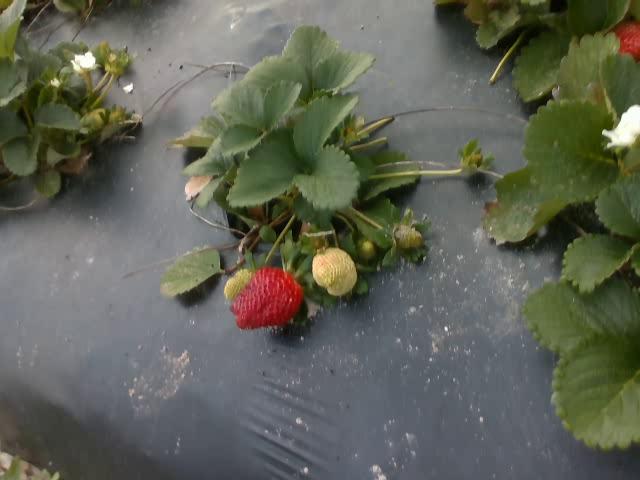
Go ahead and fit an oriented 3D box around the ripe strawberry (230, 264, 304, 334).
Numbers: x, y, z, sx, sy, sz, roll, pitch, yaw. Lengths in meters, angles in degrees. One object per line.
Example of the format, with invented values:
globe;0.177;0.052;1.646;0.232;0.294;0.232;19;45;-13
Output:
ripe strawberry;-0.039;0.045;0.421;0.046;0.045;0.059;11;35;40
